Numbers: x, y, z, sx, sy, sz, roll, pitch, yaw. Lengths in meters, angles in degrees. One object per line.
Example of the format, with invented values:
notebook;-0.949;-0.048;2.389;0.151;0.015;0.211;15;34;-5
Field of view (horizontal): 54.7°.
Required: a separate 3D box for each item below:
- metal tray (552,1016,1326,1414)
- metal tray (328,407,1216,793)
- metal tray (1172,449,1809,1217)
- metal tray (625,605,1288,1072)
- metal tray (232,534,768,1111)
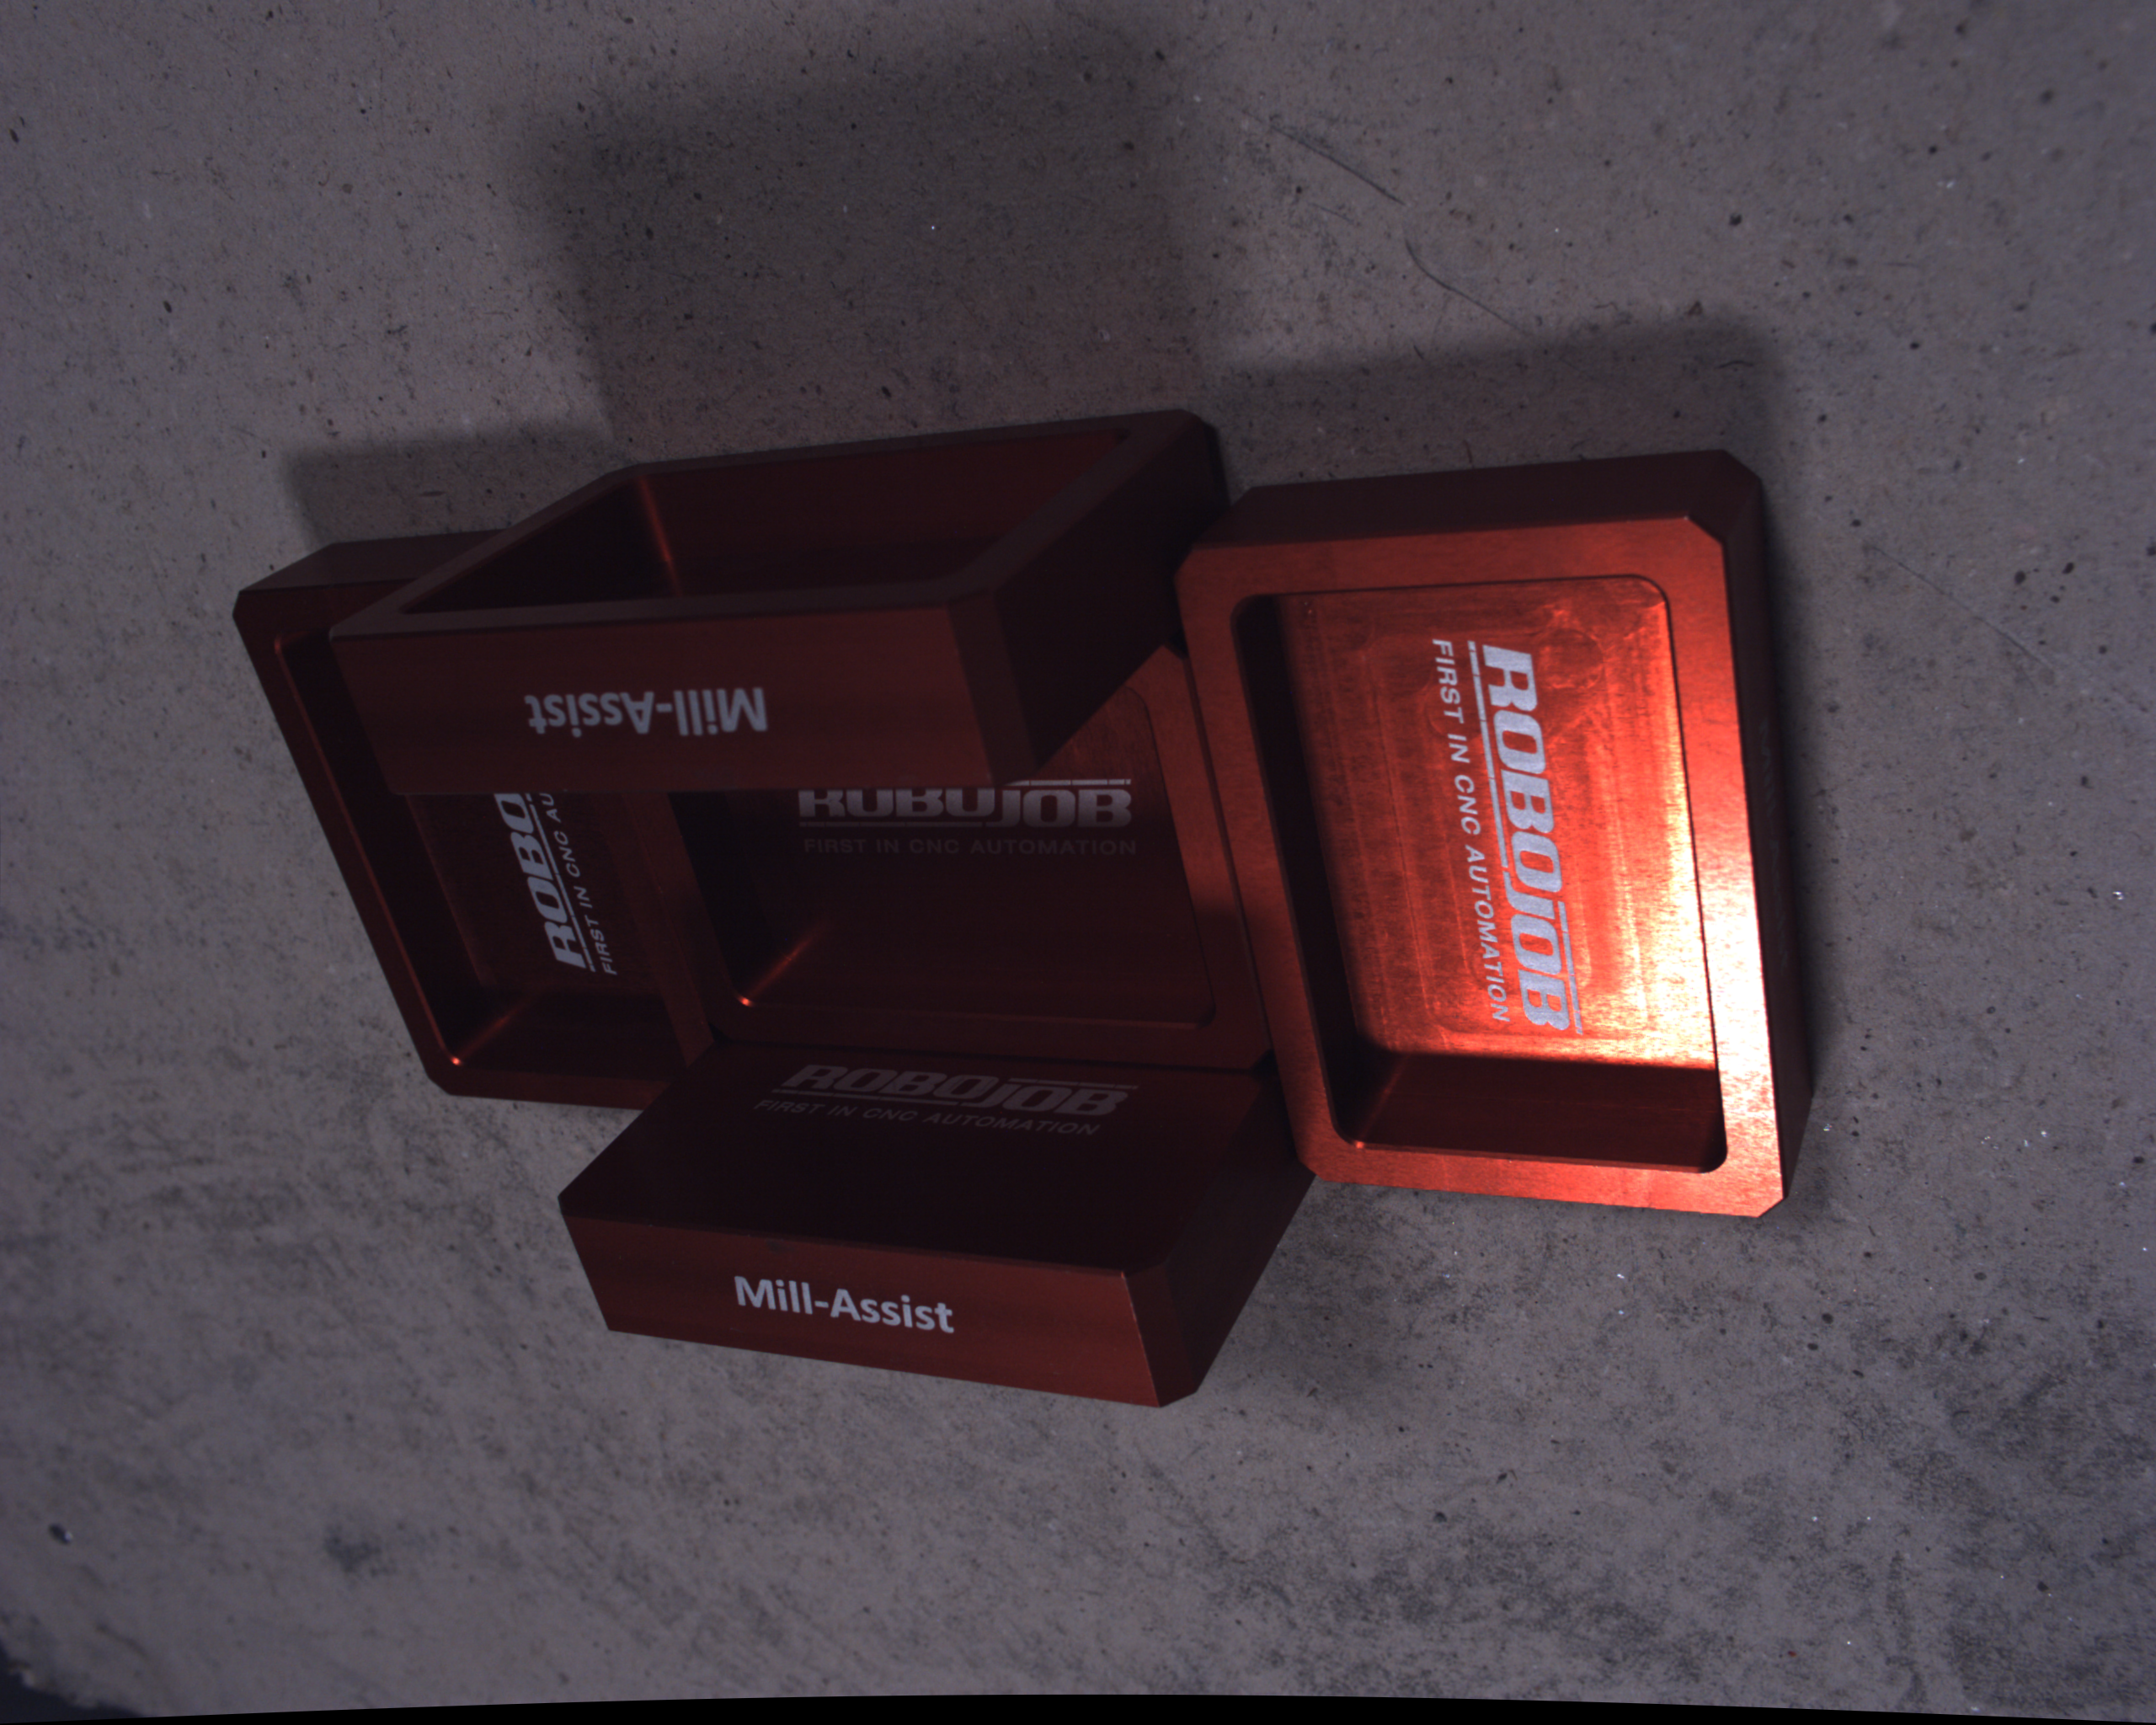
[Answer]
metal tray;-0.025;0.060;0.413;0.130;0.090;0.030;1;119;27
metal tray;-0.051;-0.046;0.363;0.130;0.090;0.030;0;119;27
metal tray;0.074;-0.002;0.364;0.090;0.030;0.129;0;119;27
metal tray;-0.025;-0.007;0.412;0.130;0.030;0.089;1;119;27
metal tray;-0.123;-0.007;0.463;0.090;0.030;0.129;0;119;27
